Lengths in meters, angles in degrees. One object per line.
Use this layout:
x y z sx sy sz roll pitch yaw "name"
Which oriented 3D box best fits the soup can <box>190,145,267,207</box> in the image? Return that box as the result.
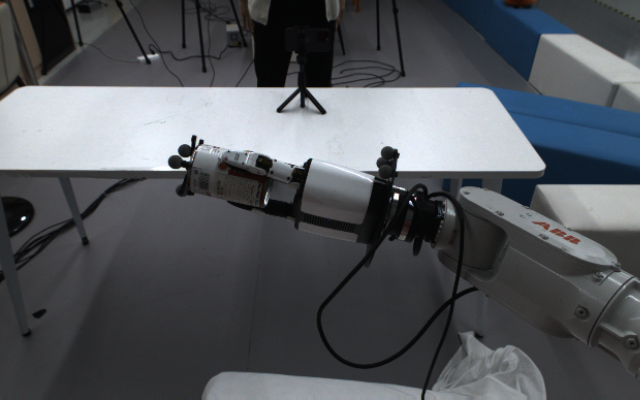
-0.113 -0.030 0.638 0.101 0.067 0.067 13 35 -1 "soup can"
